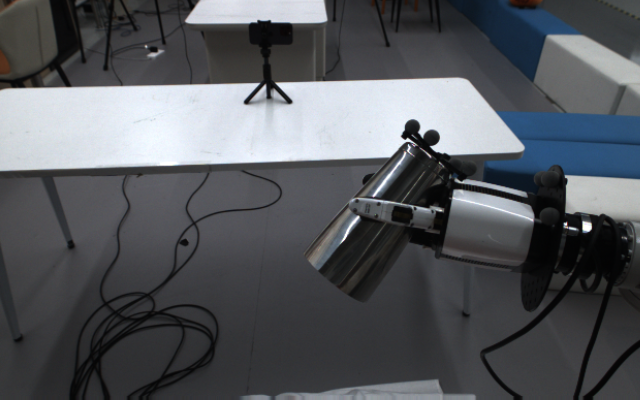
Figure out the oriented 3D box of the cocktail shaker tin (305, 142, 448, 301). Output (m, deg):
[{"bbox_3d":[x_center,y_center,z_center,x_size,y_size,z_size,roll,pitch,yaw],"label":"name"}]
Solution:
[{"bbox_3d":[0.071,0.018,0.551,0.170,0.093,0.093,-50,46,4],"label":"cocktail shaker tin"}]
